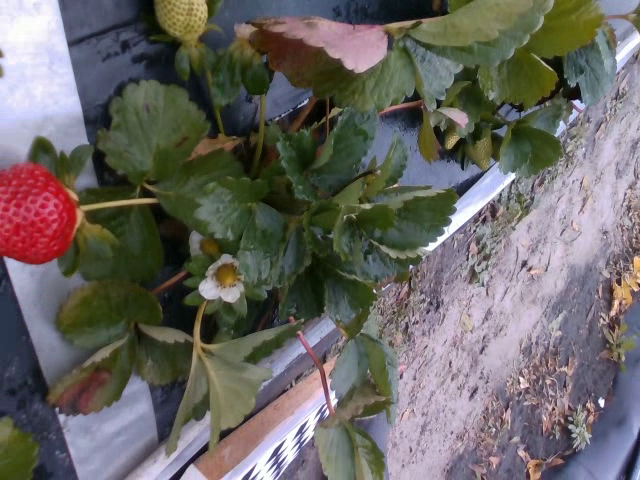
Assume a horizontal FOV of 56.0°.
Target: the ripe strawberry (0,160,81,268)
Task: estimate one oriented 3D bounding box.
[{"bbox_3d":[-0.110,-0.008,0.211,0.037,0.042,0.051,42,28,14],"label":"ripe strawberry"}]
